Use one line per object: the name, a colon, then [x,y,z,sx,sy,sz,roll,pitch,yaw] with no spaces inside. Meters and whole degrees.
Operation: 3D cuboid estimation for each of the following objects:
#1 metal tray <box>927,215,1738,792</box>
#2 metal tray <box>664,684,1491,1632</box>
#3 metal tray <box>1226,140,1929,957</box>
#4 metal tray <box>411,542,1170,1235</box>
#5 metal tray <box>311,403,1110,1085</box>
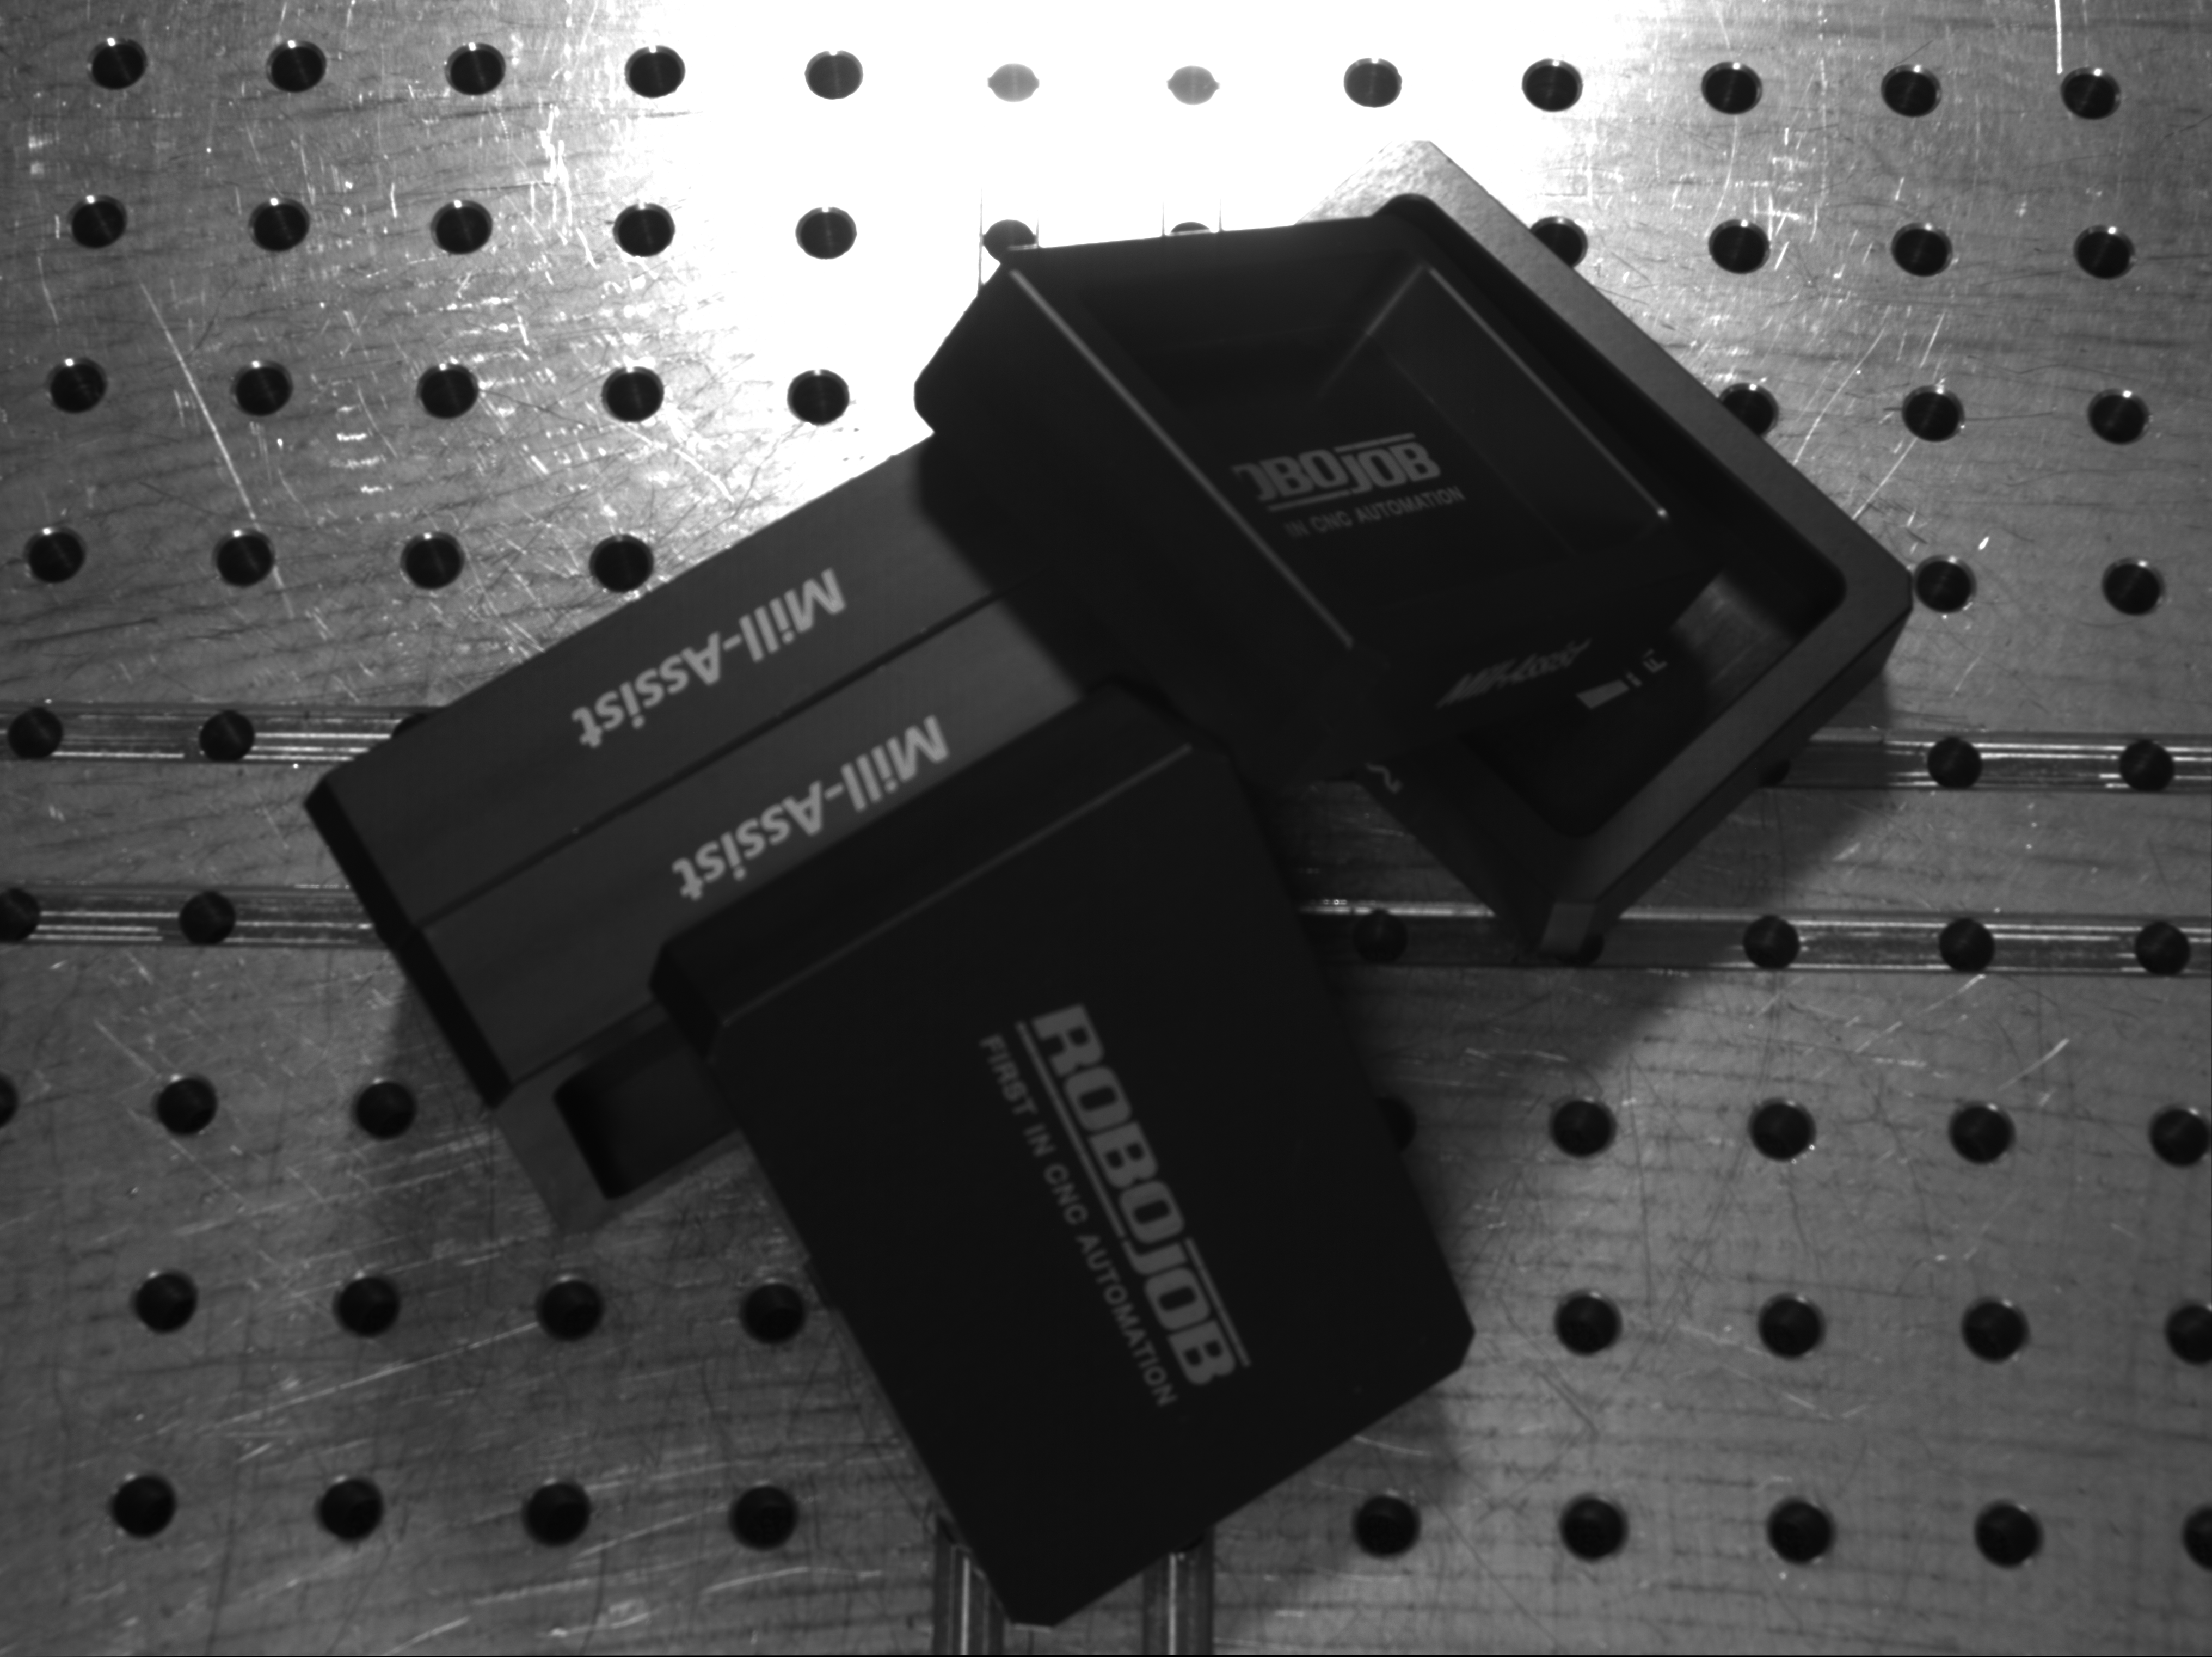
metal tray: [0.041,-0.058,0.608,0.090,0.030,0.130,49,32,16]
metal tray: [-0.002,0.054,0.578,0.090,0.130,0.030,-31,31,-10]
metal tray: [0.071,-0.052,0.663,0.090,0.030,0.130,-42,75,-14]
metal tray: [-0.044,0.012,0.607,0.130,0.090,0.030,-31,73,-11]
metal tray: [-0.061,-0.011,0.616,0.130,0.090,0.030,-31,73,-11]
